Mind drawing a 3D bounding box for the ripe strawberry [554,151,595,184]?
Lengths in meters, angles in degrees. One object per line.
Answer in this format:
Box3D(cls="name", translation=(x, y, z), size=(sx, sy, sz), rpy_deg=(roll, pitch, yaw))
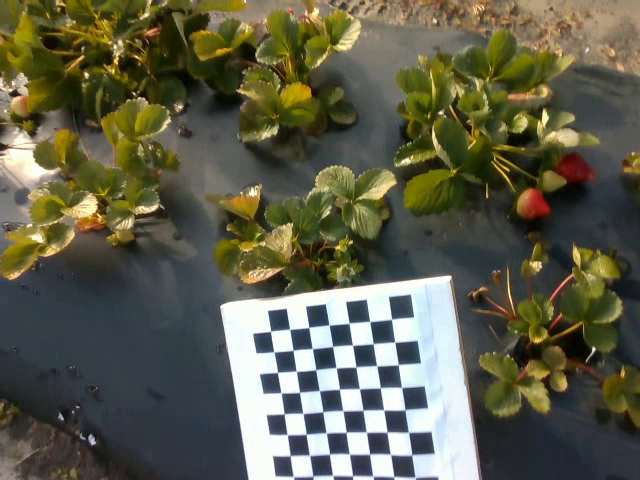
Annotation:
Box3D(cls="ripe strawberry", translation=(0.377, -0.102, 0.854), size=(0.064, 0.049, 0.050), rpy_deg=(35, 18, 15))
